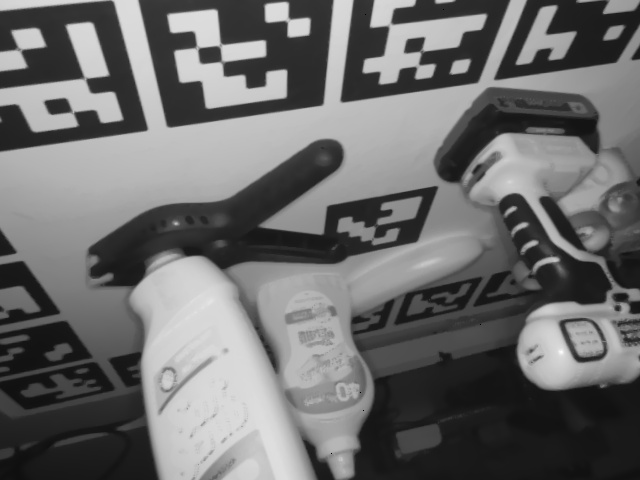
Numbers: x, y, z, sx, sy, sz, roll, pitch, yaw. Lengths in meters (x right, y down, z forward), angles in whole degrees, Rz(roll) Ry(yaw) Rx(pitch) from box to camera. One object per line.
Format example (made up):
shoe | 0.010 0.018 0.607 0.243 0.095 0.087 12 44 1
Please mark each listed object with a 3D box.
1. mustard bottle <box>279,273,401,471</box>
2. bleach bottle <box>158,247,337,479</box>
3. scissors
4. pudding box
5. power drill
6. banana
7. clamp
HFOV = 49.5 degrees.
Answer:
mustard bottle | 0.025 0.121 0.654 0.097 0.192 0.057 -1 145 -20
bleach bottle | -0.068 0.101 0.495 0.102 0.251 0.068 -26 150 3
scissors | 0.276 0.018 0.580 0.205 0.016 0.086 8 136 -27
pudding box | 0.252 -0.036 0.608 0.115 0.090 0.038 -8 153 -12
power drill | 0.214 -0.010 0.487 0.187 0.187 0.056 -5 152 -22
banana | 0.115 0.056 0.720 0.195 0.039 0.075 -33 160 23
clamp | -0.058 0.001 0.545 0.203 0.037 0.164 -13 145 -3
